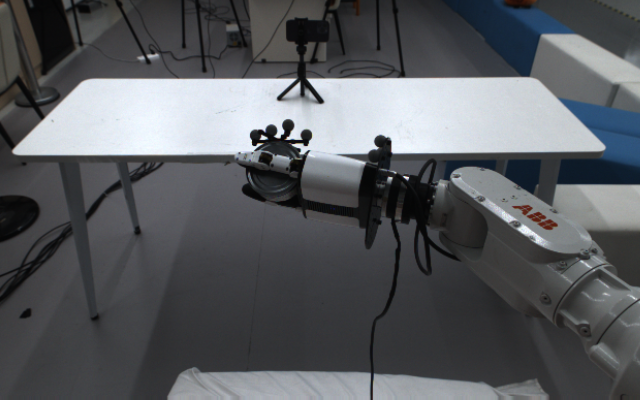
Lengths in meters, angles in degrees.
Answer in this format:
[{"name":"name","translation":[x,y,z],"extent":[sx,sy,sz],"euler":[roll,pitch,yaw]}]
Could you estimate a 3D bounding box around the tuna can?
[{"name":"tuna can","translation":[-0.063,-0.041,0.716],"extent":[0.085,0.034,0.085],"euler":[-3,73,10]}]
